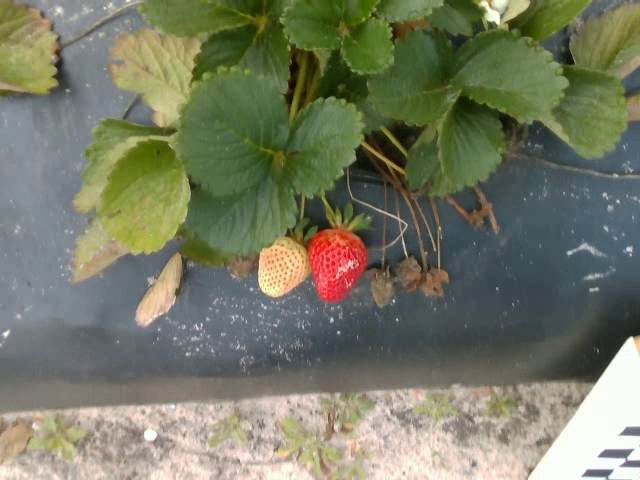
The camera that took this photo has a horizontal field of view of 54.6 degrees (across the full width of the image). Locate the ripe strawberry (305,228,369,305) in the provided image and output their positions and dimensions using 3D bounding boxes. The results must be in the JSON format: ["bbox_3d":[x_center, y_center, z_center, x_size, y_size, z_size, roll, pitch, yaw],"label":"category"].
[{"bbox_3d":[0.008,0.014,0.308,0.034,0.042,0.033,19,-13,-21],"label":"ripe strawberry"}]
